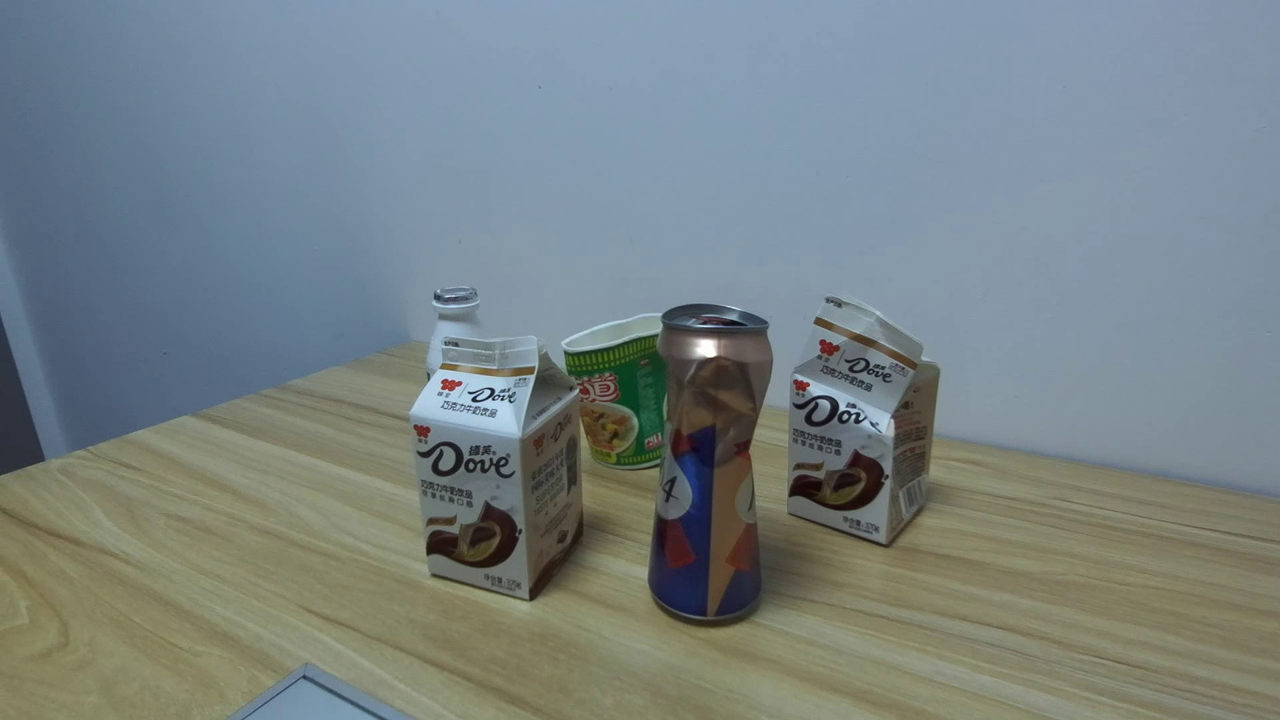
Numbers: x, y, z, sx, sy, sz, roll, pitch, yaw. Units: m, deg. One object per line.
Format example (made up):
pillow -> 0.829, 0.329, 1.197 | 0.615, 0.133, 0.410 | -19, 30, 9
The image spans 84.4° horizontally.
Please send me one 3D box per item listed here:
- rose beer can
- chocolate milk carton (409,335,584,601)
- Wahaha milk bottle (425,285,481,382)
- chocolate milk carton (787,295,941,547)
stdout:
rose beer can -> 0.039, 0.057, 0.383 | 0.065, 0.167, 0.076 | 4, 16, 7
chocolate milk carton -> -0.083, 0.055, 0.423 | 0.075, 0.148, 0.074 | 7, 21, 20
Wahaha milk bottle -> -0.137, 0.014, 0.549 | 0.056, 0.148, 0.056 | 3, 28, -1
chocolate milk carton -> 0.149, 0.033, 0.469 | 0.076, 0.155, 0.074 | 14, 26, 37
